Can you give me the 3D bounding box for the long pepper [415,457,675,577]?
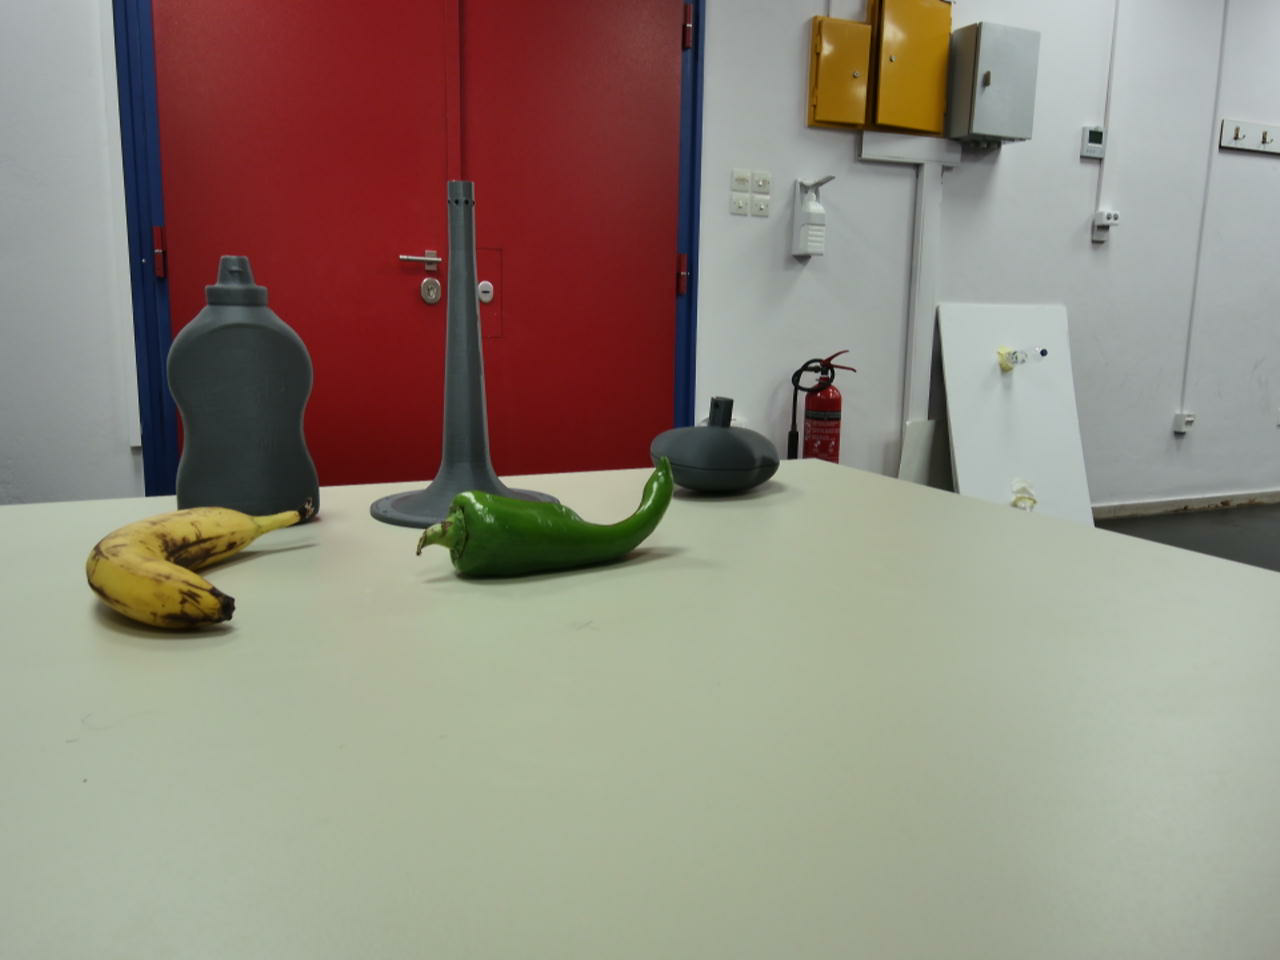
[{"bbox_3d":[-0.052,0.023,0.619,0.175,0.065,0.058,-4,9,-26],"label":"long pepper"}]
